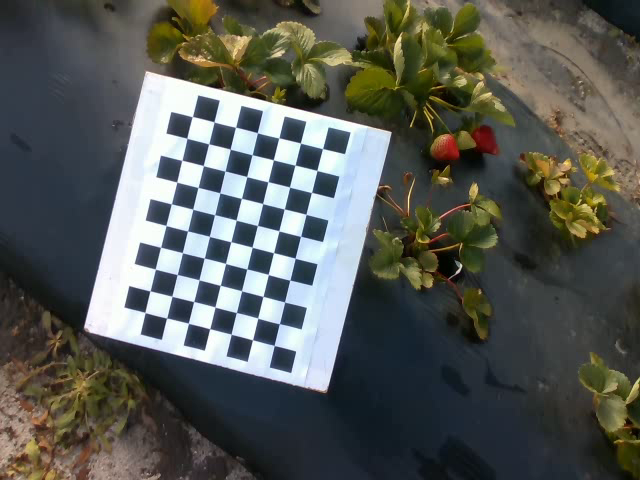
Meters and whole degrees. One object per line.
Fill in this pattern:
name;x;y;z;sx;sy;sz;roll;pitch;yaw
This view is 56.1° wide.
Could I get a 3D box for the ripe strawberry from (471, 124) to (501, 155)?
ripe strawberry;0.272;-0.159;0.969;0.048;0.065;0.050;-35;-6;3
